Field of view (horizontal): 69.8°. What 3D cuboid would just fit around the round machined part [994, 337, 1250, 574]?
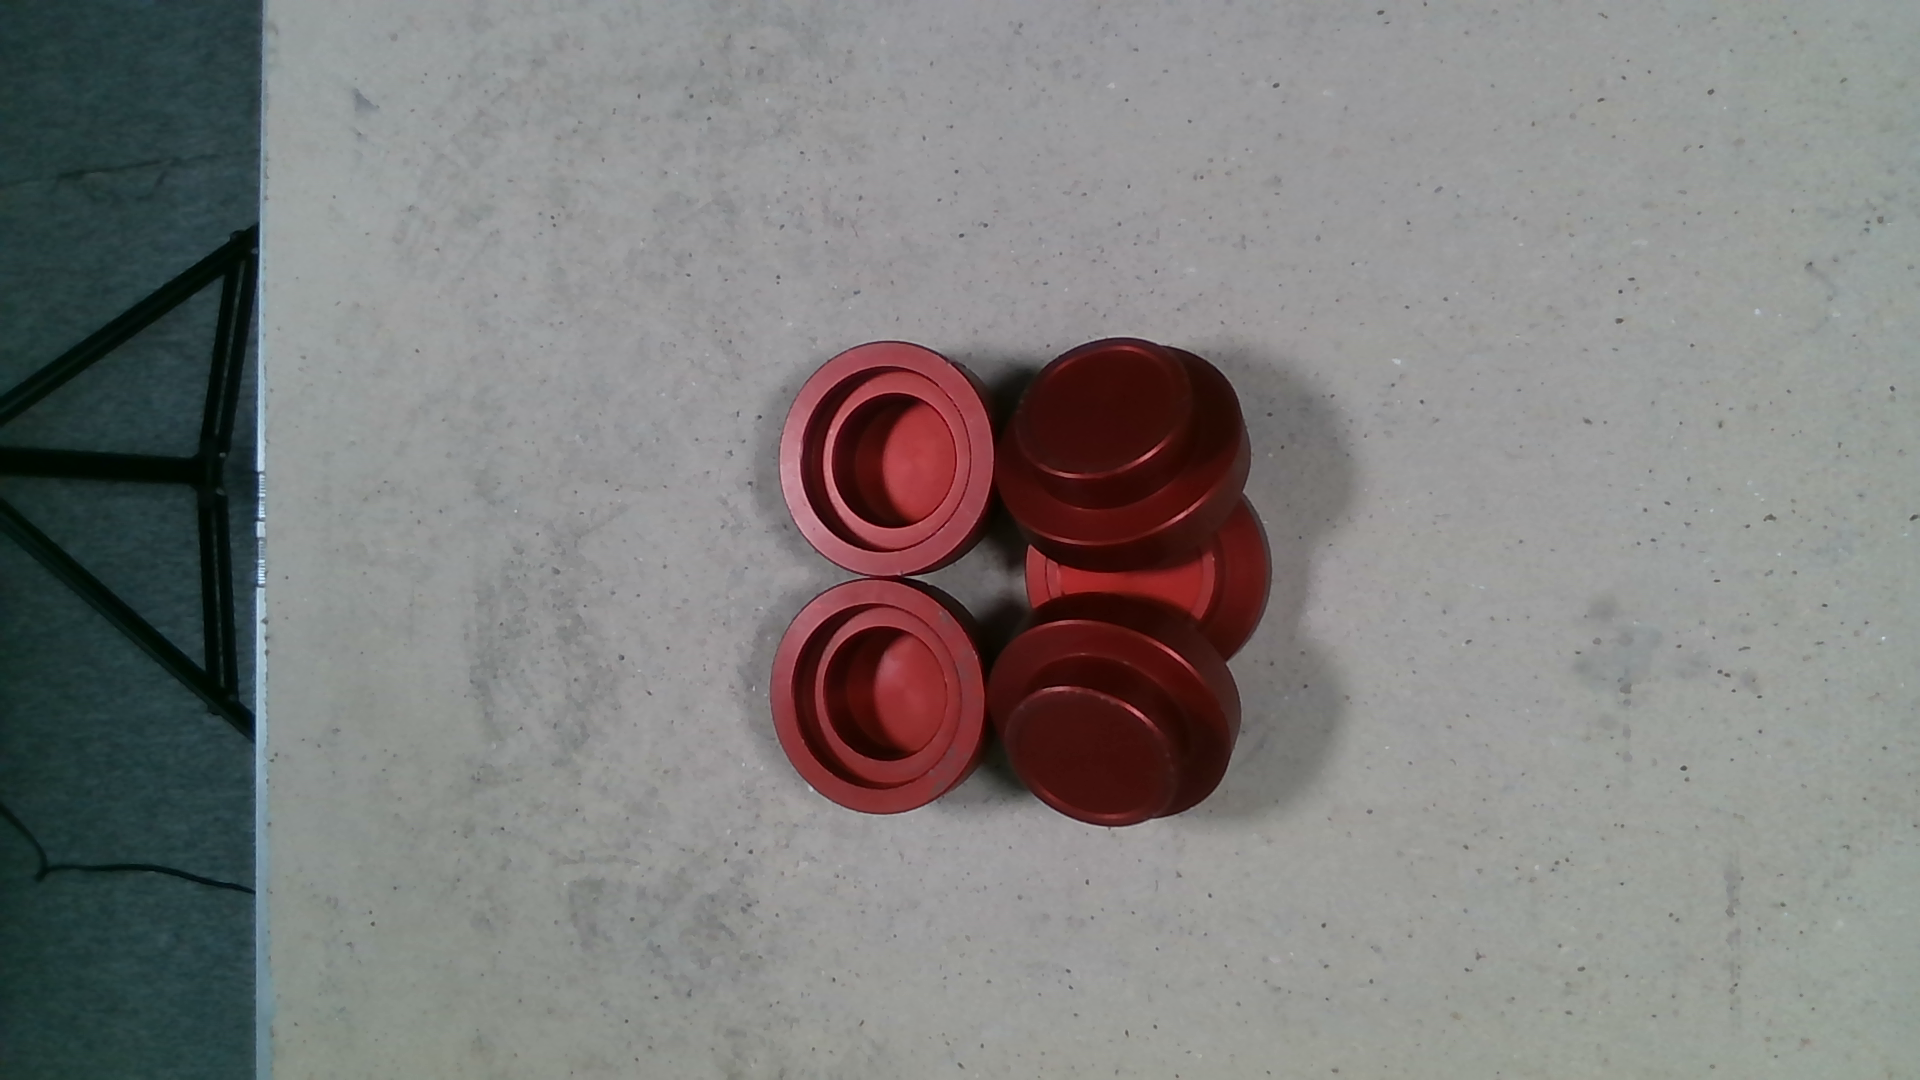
[{"bbox_3d":[0.059,-0.039,0.529,0.098,0.042,0.098,-12,53,16],"label":"round machined part"}]

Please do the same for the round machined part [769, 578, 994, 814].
[{"bbox_3d":[-0.028,0.065,0.588,0.098,0.042,0.098,0,91,20],"label":"round machined part"}]

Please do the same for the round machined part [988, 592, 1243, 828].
[{"bbox_3d":[0.056,0.072,0.533,0.098,0.042,0.098,13,126,18],"label":"round machined part"}]

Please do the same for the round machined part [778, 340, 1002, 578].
[{"bbox_3d":[-0.024,-0.034,0.585,0.098,0.042,0.098,0,91,20],"label":"round machined part"}]

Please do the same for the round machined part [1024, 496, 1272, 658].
[{"bbox_3d":[0.072,0.012,0.549,0.098,0.042,0.098,0,91,20],"label":"round machined part"}]
